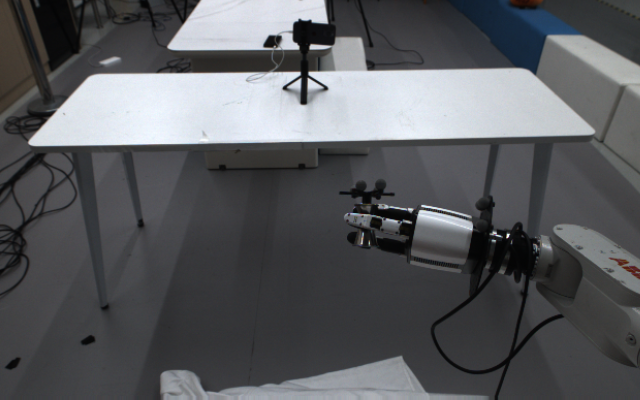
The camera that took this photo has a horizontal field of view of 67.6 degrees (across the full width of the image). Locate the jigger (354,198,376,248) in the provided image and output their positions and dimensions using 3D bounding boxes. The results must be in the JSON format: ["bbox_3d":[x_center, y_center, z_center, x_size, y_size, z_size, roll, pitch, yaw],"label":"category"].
[{"bbox_3d":[0.073,0.039,0.778,0.043,0.071,0.043,2,-6,0],"label":"jigger"}]
